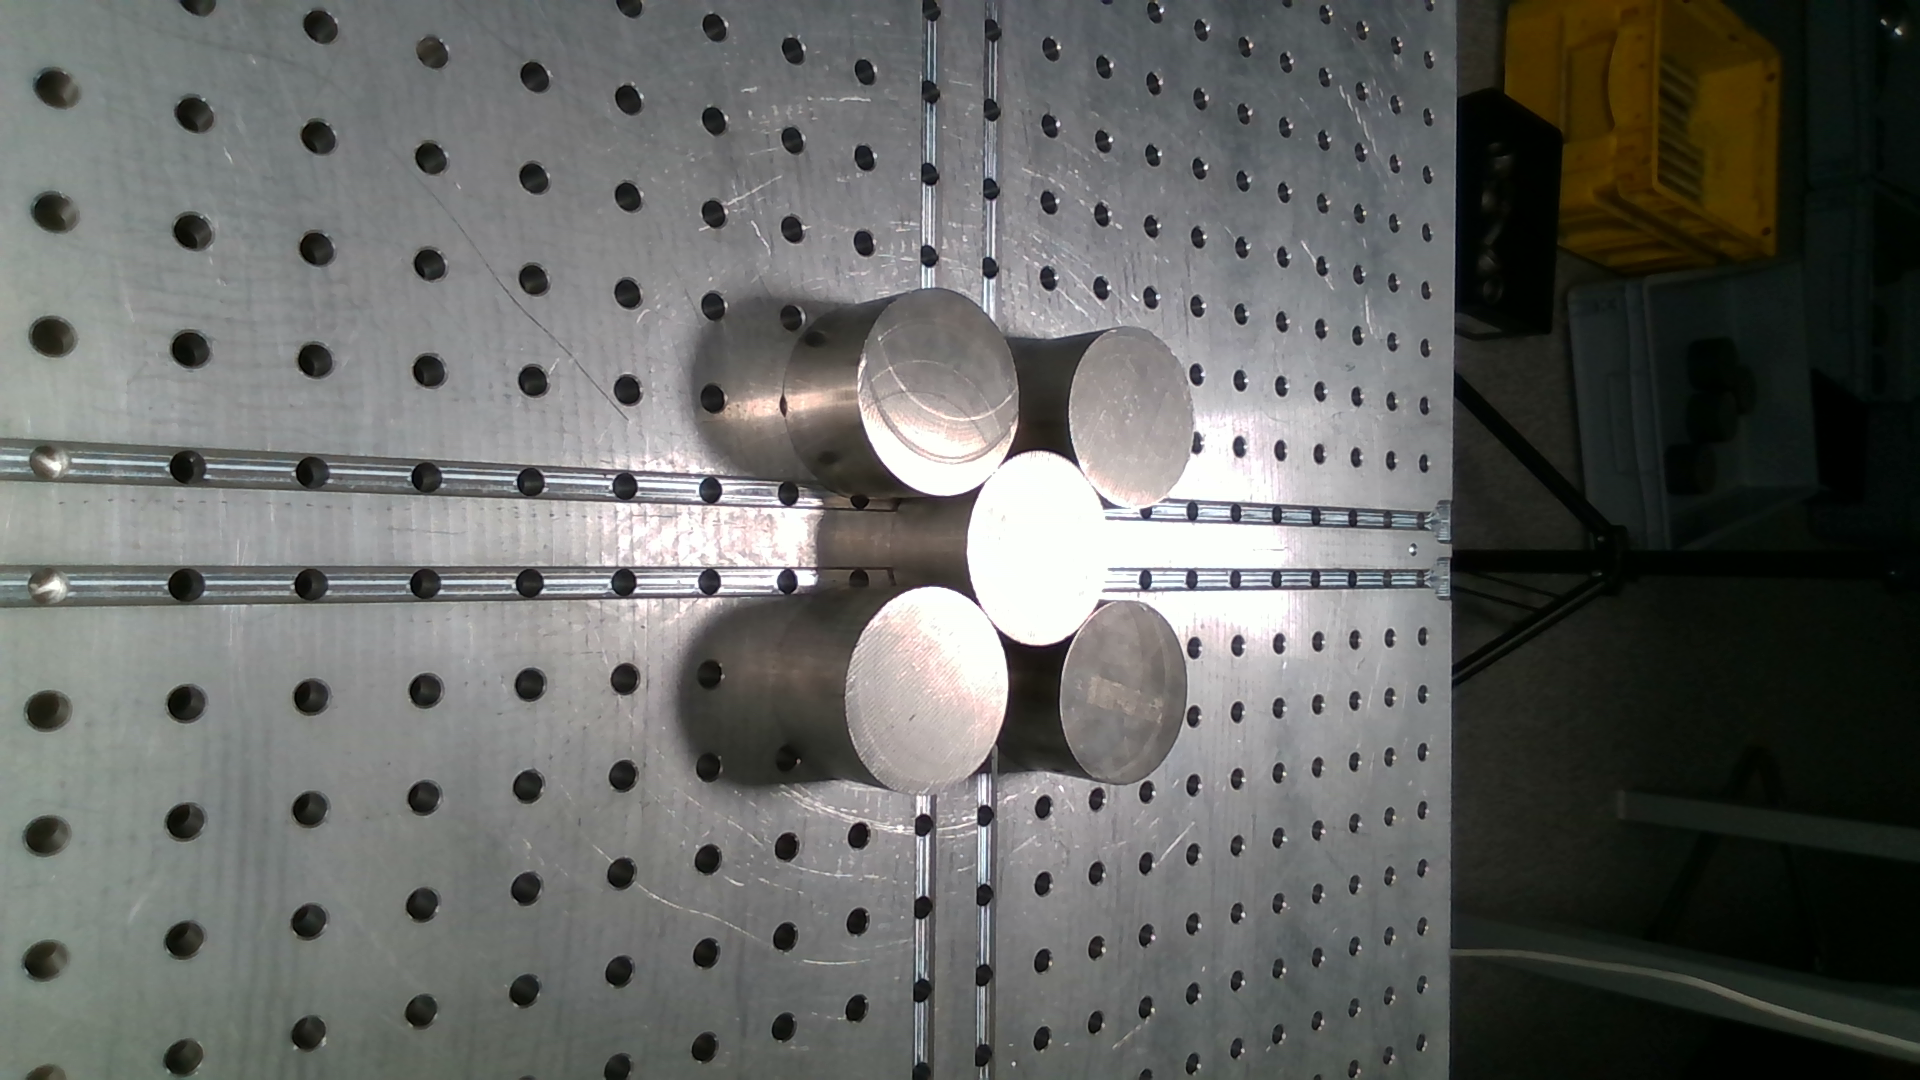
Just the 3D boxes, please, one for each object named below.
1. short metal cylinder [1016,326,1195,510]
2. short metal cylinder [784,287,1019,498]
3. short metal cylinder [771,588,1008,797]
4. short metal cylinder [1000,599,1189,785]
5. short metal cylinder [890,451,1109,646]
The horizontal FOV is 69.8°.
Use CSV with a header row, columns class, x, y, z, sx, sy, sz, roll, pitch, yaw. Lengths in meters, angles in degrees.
class,x,y,z,sx,sy,sz,roll,pitch,yaw
short metal cylinder,0.060,-0.053,0.620,0.080,0.050,0.080,0,90,-40
short metal cylinder,-0.023,-0.057,0.549,0.080,0.050,0.080,0,90,-40
short metal cylinder,-0.027,0.058,0.546,0.080,0.050,0.080,0,90,-40
short metal cylinder,0.057,0.066,0.615,0.080,0.050,0.080,0,90,-40
short metal cylinder,0.017,0.004,0.584,0.080,0.050,0.080,0,90,-40
